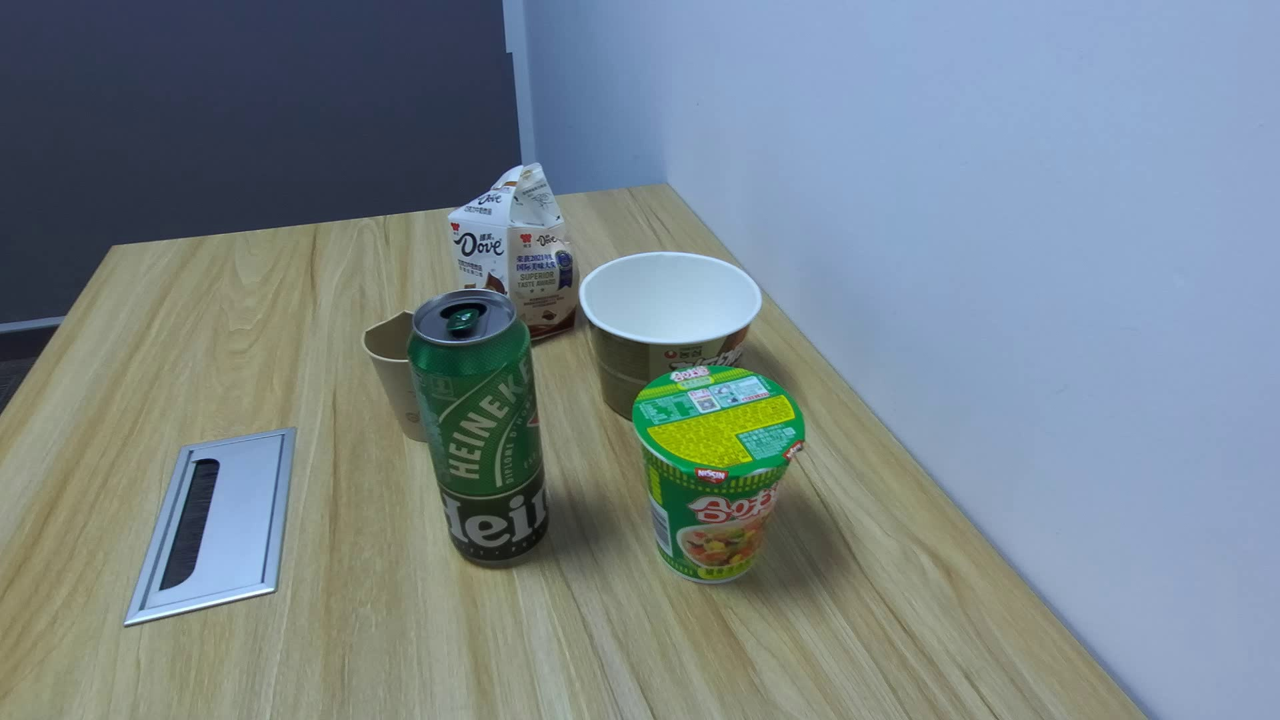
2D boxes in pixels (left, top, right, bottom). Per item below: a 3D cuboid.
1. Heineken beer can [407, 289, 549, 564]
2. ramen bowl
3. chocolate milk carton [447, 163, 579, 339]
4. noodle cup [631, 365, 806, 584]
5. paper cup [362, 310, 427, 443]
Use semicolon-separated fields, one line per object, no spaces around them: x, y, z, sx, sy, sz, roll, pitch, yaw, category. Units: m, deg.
-0.093;0.045;0.427;0.067;0.169;0.067;0;35;0;Heineken beer can
0.023;-0.014;0.568;0.140;0.095;0.140;0;36;0;ramen bowl
-0.114;-0.097;0.646;0.077;0.155;0.089;-26;29;-37;chocolate milk carton
0.044;0.076;0.432;0.097;0.110;0.097;1;36;0;noodle cup
-0.170;0.013;0.559;0.068;0.081;0.074;28;45;29;paper cup
